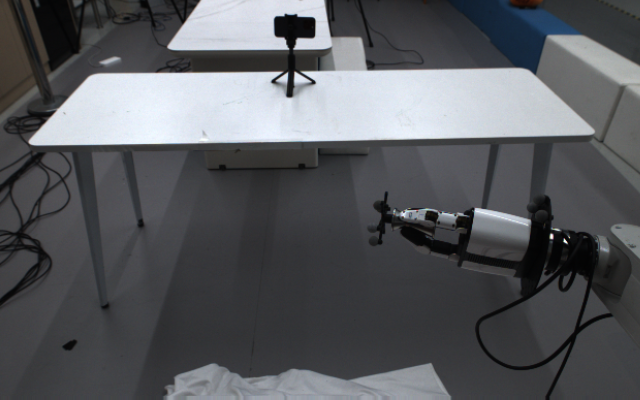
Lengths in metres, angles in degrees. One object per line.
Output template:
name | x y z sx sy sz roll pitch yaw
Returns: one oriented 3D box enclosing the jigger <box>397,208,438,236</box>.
jigger | 0.159 0.031 0.781 0.071 0.043 0.043 8 35 15
